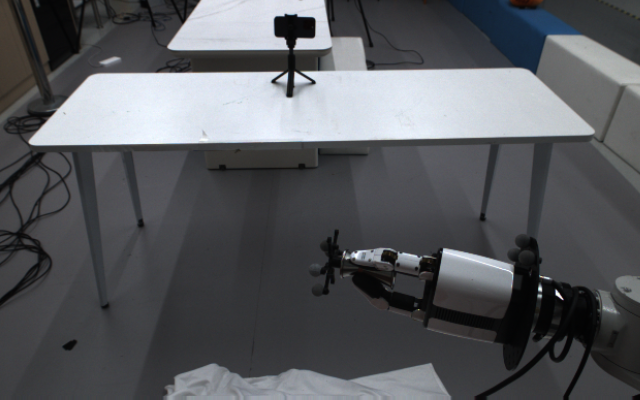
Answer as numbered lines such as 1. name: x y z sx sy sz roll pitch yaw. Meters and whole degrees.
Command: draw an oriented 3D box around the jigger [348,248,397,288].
1. jigger: 0.070 0.082 0.624 0.071 0.043 0.043 8 35 15
